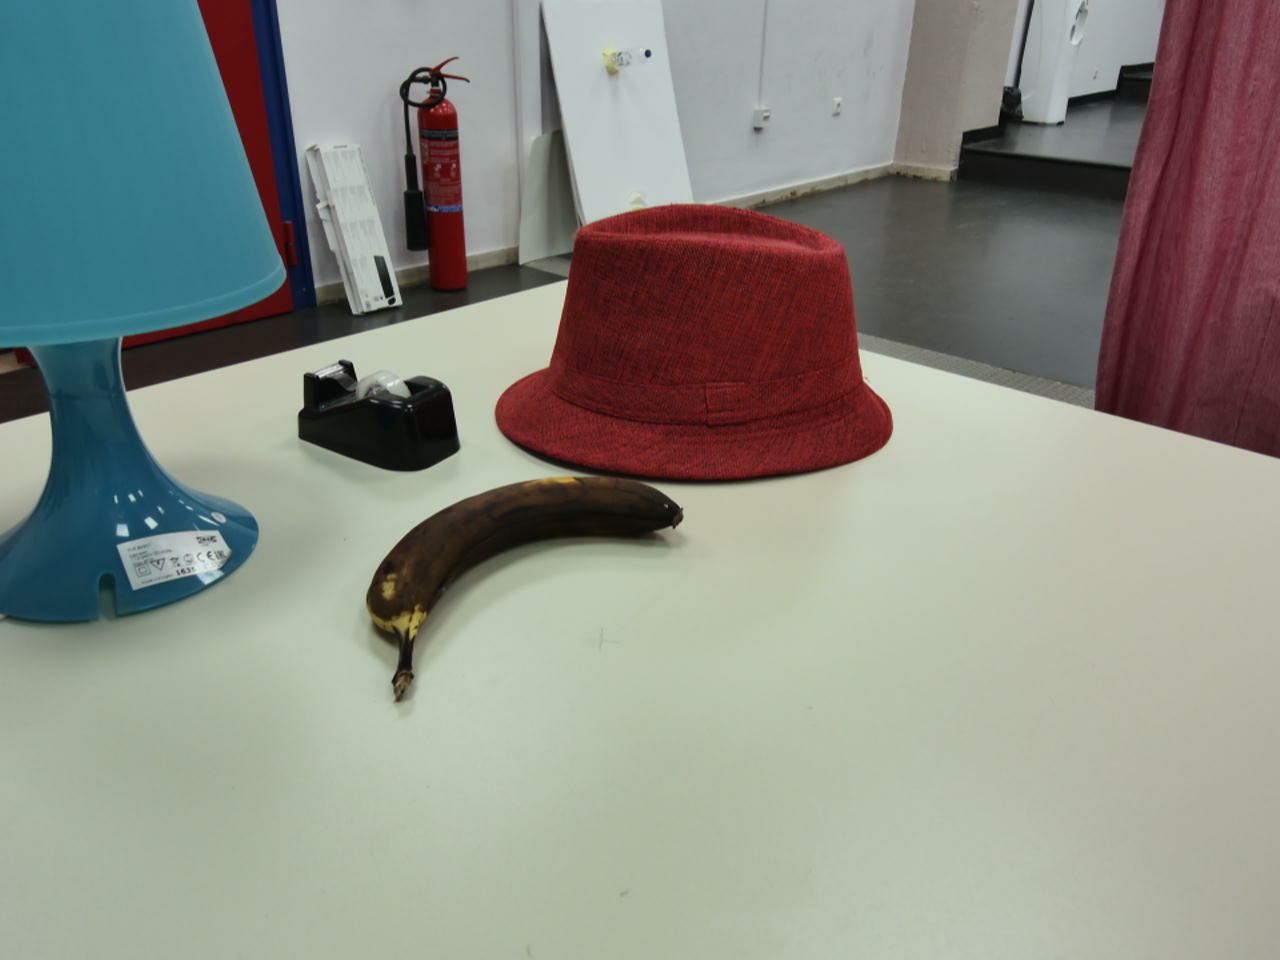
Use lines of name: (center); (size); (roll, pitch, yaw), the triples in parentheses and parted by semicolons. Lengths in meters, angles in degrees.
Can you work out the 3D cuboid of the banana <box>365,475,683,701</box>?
banana: (-0.068, 0.033, 0.493); (0.091, 0.034, 0.188); (21, 31, 37)
